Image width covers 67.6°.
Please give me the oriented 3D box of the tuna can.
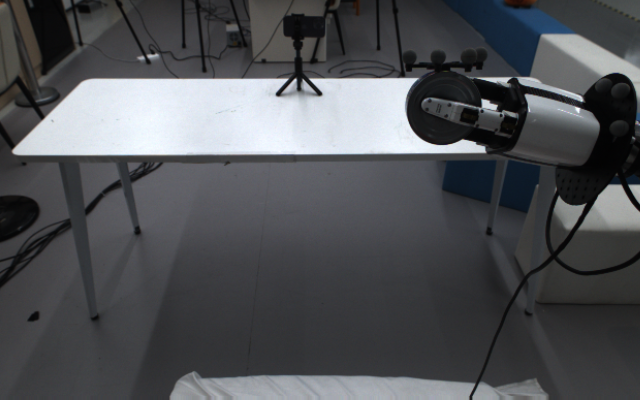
[{"bbox_3d":[0.147,-0.112,0.579,0.085,0.085,0.034,4,18,3],"label":"tuna can"}]
